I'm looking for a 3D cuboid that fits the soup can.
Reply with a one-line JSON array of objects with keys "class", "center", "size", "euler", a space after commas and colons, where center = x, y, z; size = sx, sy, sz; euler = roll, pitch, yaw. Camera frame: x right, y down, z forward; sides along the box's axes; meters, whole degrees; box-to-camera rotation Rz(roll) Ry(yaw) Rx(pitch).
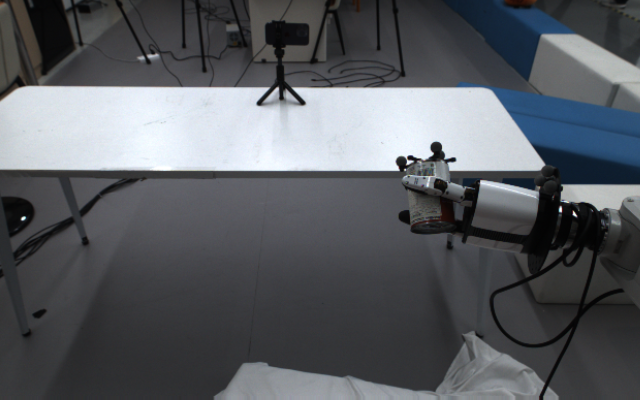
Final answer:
[{"class": "soup can", "center": [0.168, -0.006, 0.742], "size": [0.067, 0.067, 0.101], "euler": [-1, 72, -4]}]
